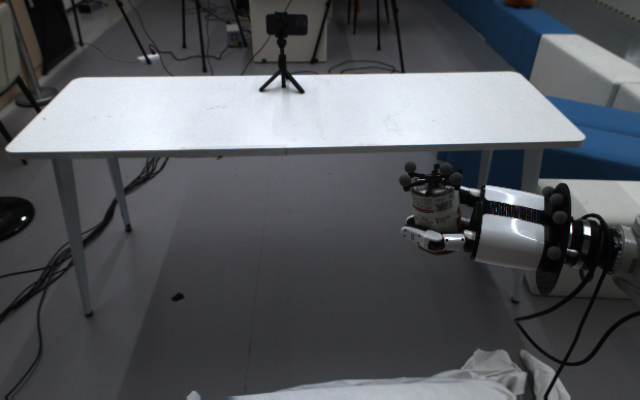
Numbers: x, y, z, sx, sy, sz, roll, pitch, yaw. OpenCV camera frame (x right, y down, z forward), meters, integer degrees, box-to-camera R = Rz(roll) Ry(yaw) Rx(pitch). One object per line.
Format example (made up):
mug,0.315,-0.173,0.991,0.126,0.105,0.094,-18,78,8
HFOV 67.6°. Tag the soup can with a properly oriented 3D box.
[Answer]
soup can,0.172,0.019,0.702,0.067,0.101,0.067,-11,28,6
